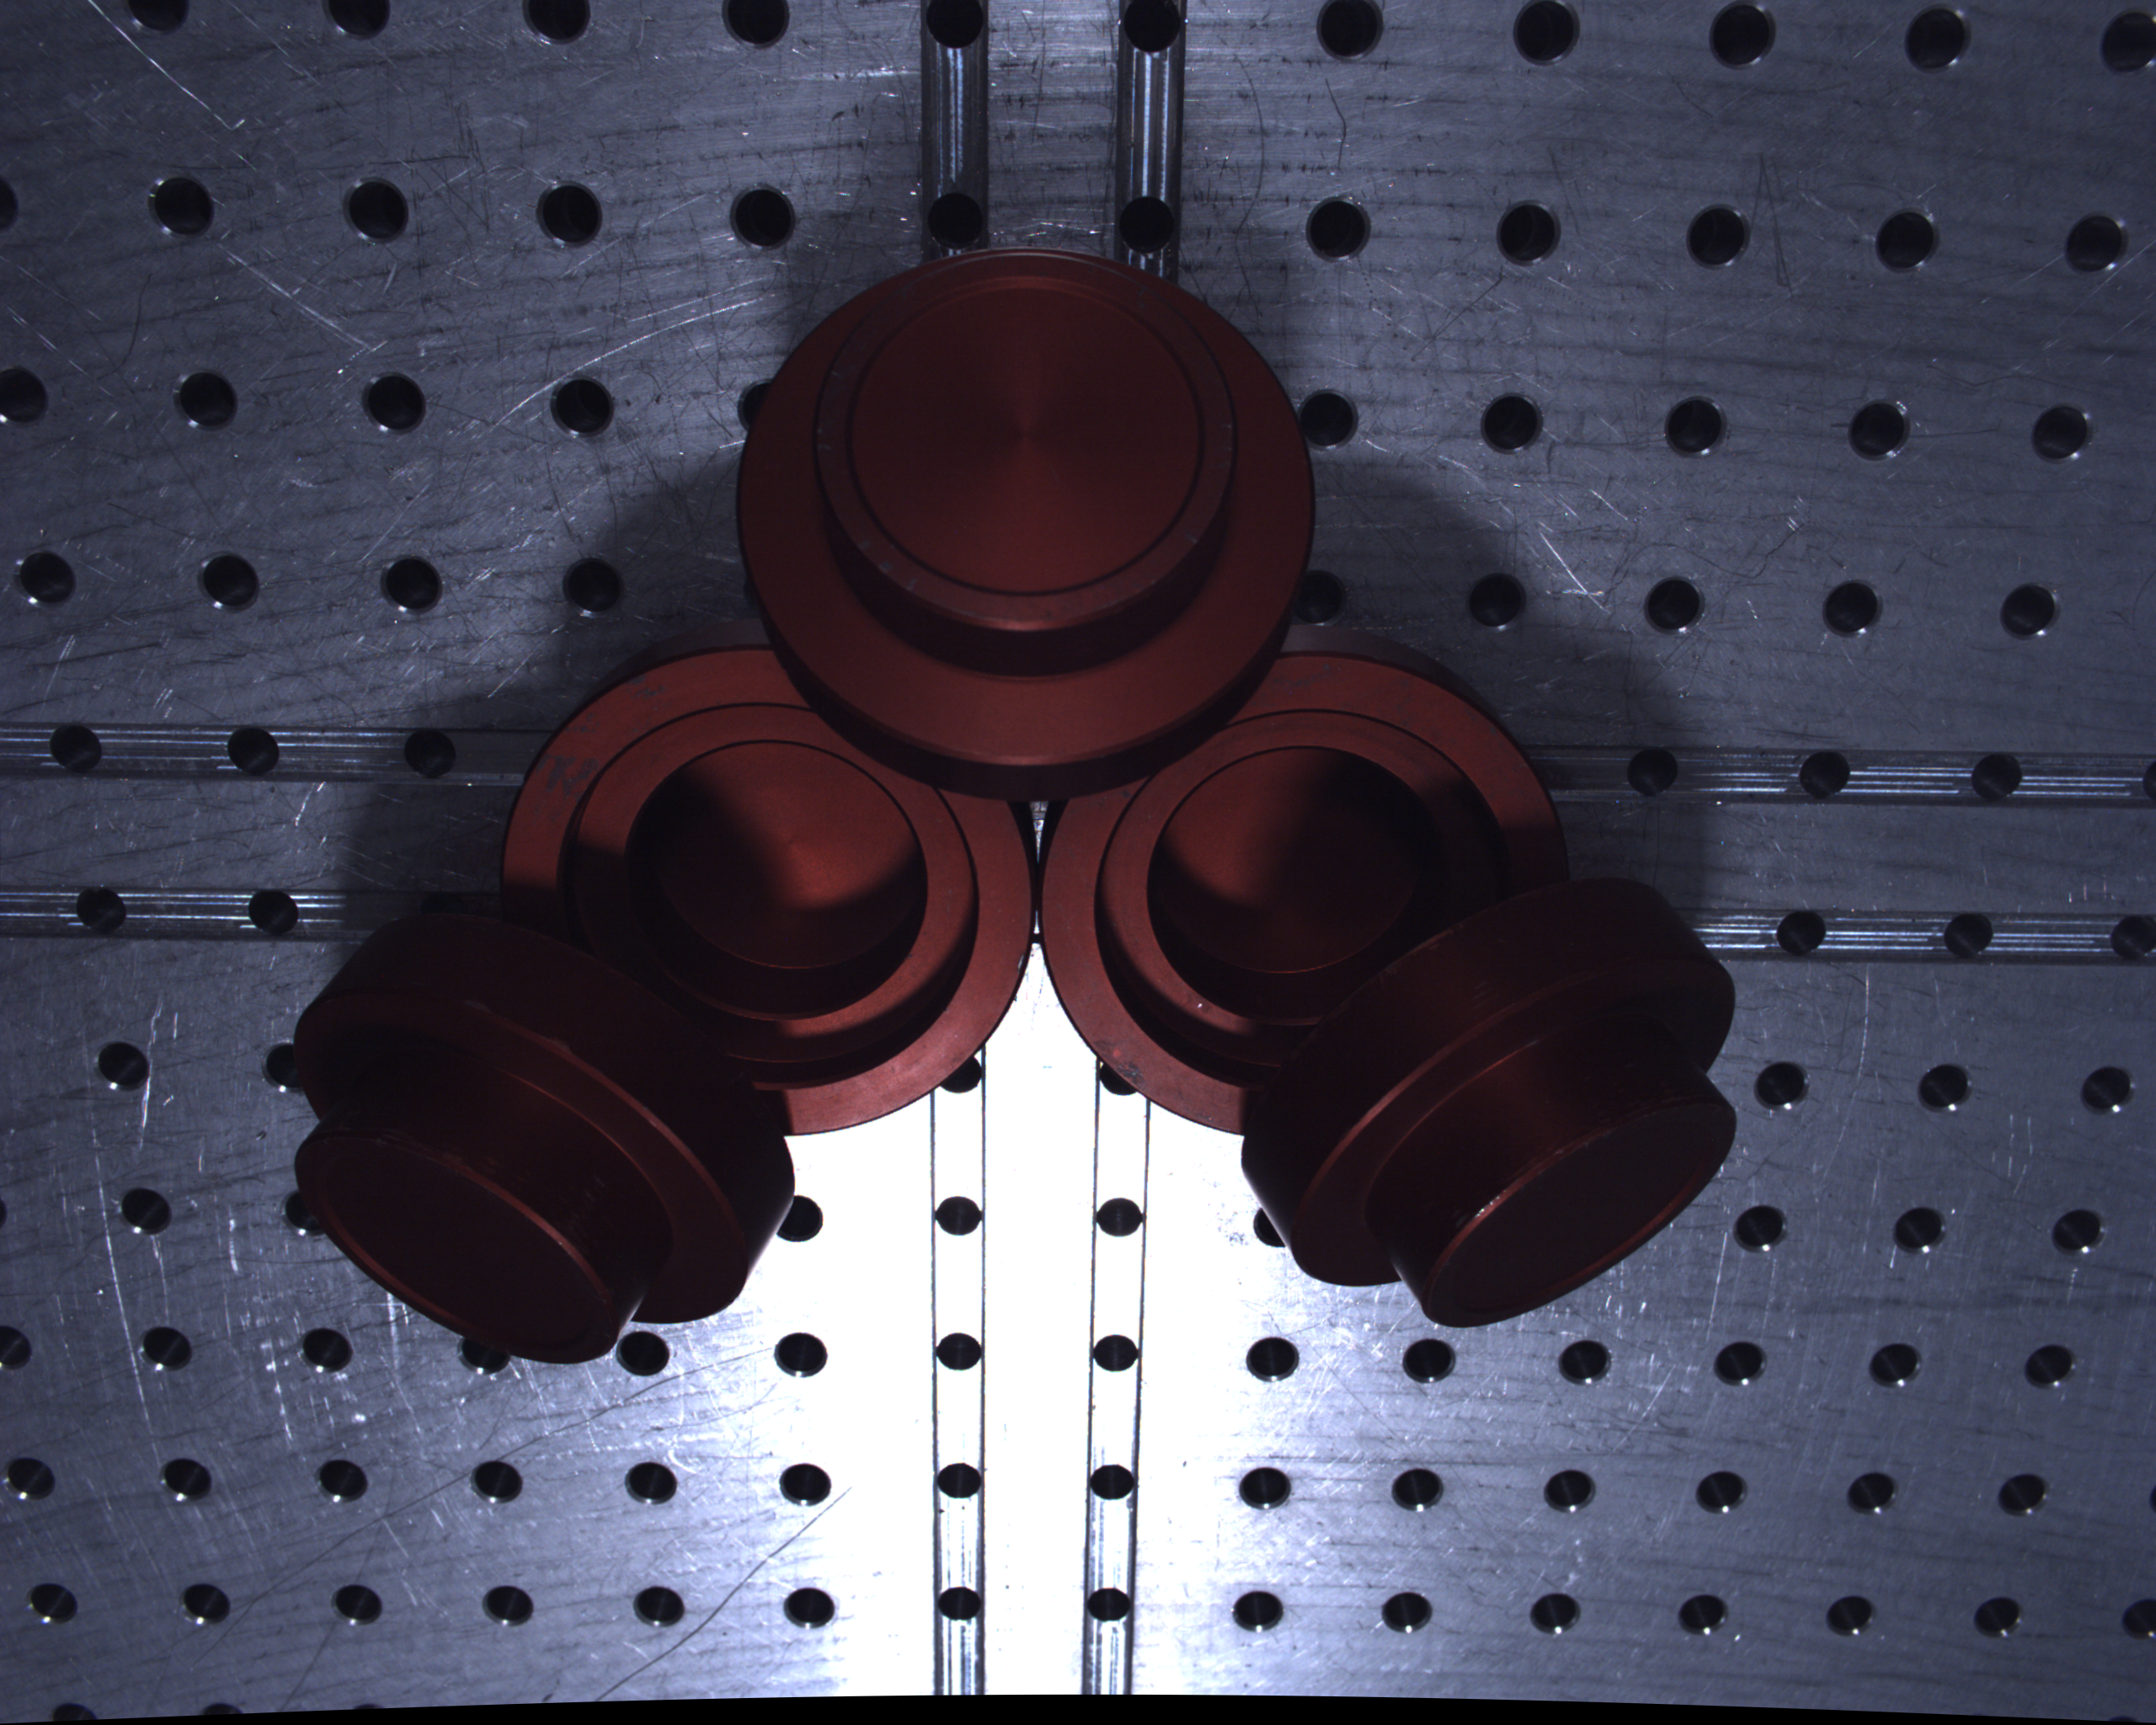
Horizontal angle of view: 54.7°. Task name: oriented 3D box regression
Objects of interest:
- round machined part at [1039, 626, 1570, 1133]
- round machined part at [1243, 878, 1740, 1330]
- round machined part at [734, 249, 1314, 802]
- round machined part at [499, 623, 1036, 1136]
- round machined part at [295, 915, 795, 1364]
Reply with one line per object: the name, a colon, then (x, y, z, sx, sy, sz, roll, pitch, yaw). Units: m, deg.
round machined part: (0.042, 0.001, 0.405, 0.099, 0.042, 0.097, 0, 110, -1)
round machined part: (0.084, 0.052, 0.396, 0.099, 0.042, 0.097, -20, 143, -16)
round machined part: (-0.009, -0.063, 0.354, 0.099, 0.042, 0.098, 0, 72, -1)
round machined part: (-0.057, 0.000, 0.403, 0.099, 0.042, 0.097, 0, 110, -1)
round machined part: (-0.108, 0.059, 0.400, 0.098, 0.042, 0.097, 16, 139, 15)
